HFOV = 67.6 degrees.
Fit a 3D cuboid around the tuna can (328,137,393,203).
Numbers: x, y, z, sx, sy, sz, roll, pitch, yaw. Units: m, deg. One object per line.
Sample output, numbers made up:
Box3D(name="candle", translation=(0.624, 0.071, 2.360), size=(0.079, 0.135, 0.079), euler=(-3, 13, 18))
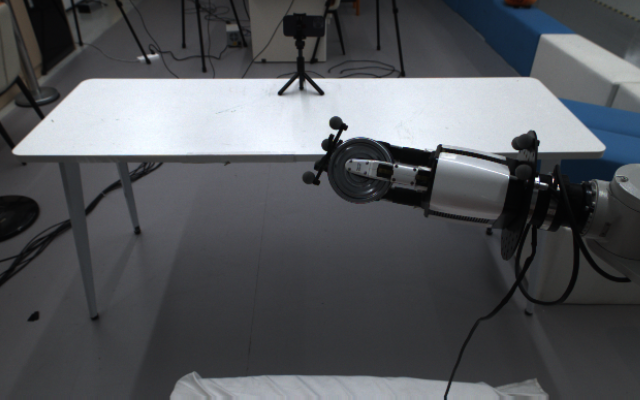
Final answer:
Box3D(name="tuna can", translation=(0.055, -0.040, 0.629), size=(0.085, 0.085, 0.034), euler=(8, 5, 9))
